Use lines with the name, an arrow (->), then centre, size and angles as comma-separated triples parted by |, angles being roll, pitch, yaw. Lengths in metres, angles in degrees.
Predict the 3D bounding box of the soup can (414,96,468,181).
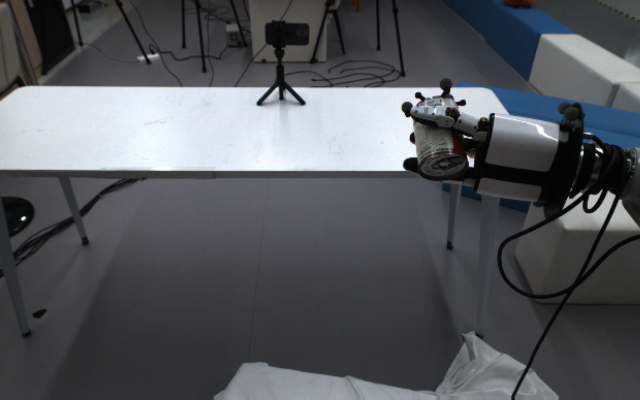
soup can -> 0.169, -0.089, 0.686 | 0.067, 0.067, 0.101 | 1, 61, -2
